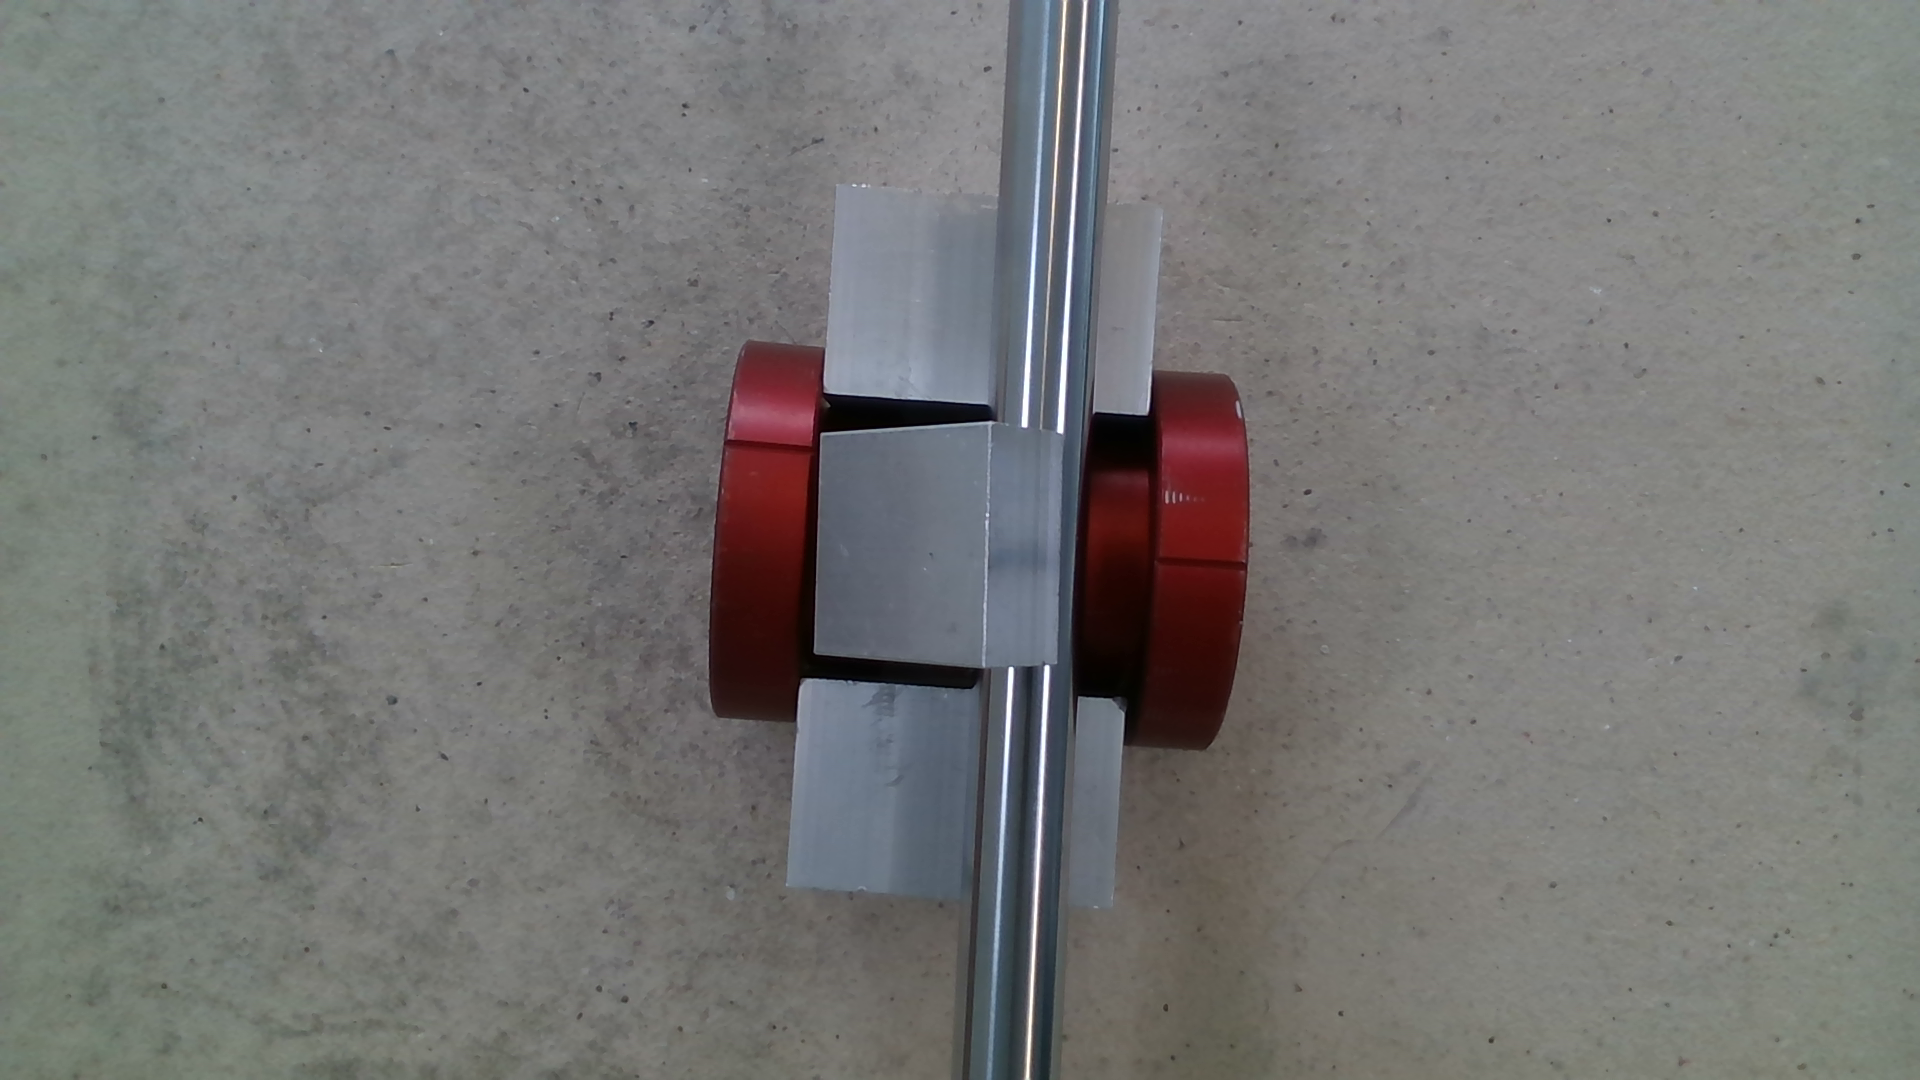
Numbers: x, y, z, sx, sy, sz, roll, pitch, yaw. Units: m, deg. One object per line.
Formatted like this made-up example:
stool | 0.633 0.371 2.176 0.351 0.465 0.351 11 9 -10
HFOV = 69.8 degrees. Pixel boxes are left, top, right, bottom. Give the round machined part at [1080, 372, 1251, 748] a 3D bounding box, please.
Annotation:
round machined part | 0.045 0.004 0.359 0.042 0.098 0.098 4 90 1

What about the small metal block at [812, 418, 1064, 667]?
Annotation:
small metal block | -0.005 0.001 0.302 0.050 0.025 0.050 0 88 40

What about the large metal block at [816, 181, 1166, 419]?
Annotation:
large metal block | 0.007 -0.058 0.368 0.080 0.080 0.050 4 90 0

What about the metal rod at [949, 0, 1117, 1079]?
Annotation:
metal rod | 0.016 0.004 0.316 0.025 0.025 0.300 3 90 0

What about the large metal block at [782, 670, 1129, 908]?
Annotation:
large metal block | -0.001 0.060 0.369 0.080 0.080 0.050 4 90 0

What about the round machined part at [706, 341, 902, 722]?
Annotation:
round machined part | -0.039 -0.002 0.359 0.042 0.098 0.098 5 90 -5
